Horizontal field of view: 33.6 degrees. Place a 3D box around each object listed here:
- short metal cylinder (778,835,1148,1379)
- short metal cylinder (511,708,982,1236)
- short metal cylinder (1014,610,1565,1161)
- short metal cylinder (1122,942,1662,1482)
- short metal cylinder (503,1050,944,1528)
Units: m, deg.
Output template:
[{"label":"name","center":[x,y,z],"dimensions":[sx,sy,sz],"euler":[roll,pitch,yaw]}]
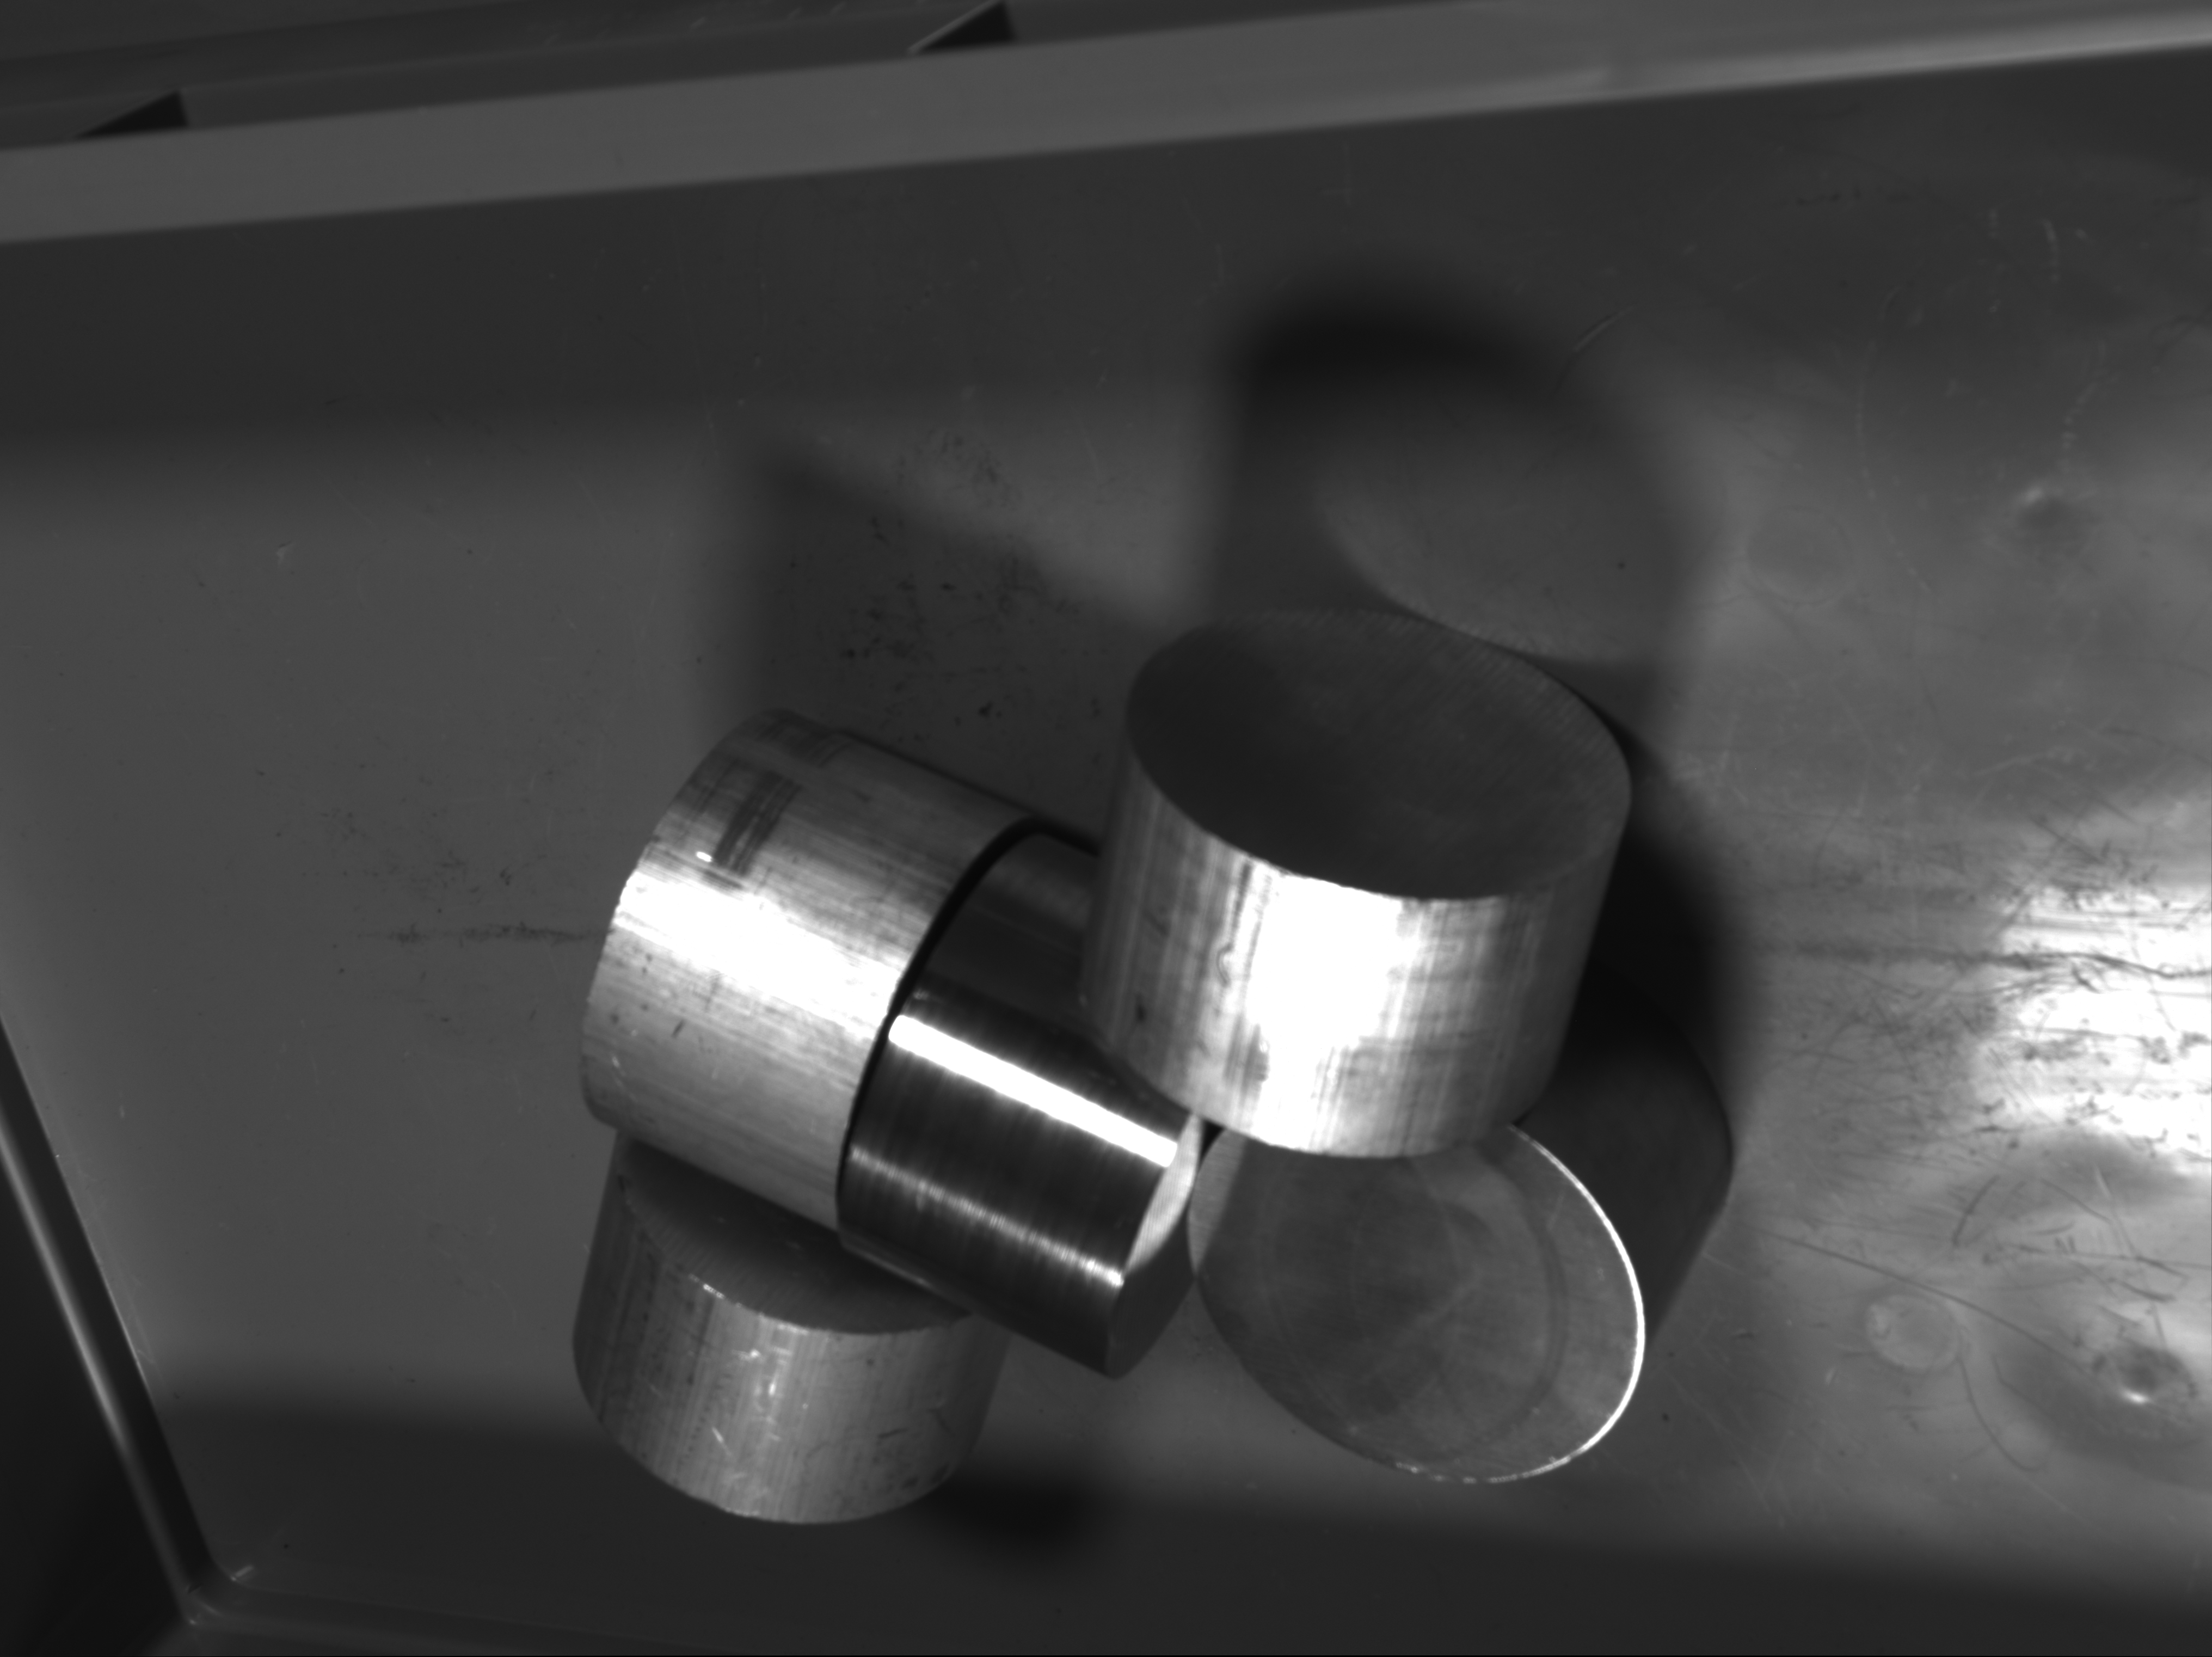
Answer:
[{"label":"short metal cylinder","center":[-0.015,0.048,0.631],"dimensions":[0.050,0.080,0.080],"euler":[24,126,12]},{"label":"short metal cylinder","center":[-0.061,0.025,0.640],"dimensions":[0.050,0.080,0.080],"euler":[23,126,13]},{"label":"short metal cylinder","center":[0.028,0.008,0.585],"dimensions":[0.080,0.080,0.050],"euler":[21,126,14]},{"label":"short metal cylinder","center":[0.049,0.064,0.627],"dimensions":[0.080,0.050,0.080],"euler":[12,123,20]},{"label":"short metal cylinder","center":[-0.068,0.082,0.678],"dimensions":[0.080,0.080,0.050],"euler":[26,127,11]}]
